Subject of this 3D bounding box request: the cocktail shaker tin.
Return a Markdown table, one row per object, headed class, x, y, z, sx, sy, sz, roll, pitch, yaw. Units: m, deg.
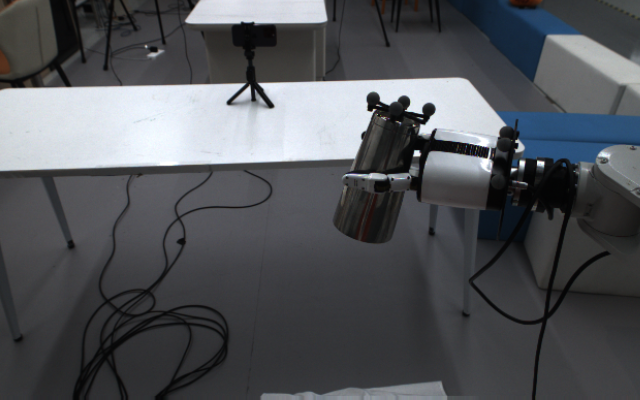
| class | x | y | z | sx | sy | sz | roll | pitch | yaw |
| --- | --- | --- | --- | --- | --- | --- | --- | --- | --- |
| cocktail shaker tin | 0.085 | -0.037 | 0.681 | 0.093 | 0.170 | 0.093 | 12 | 24 | -5 |
